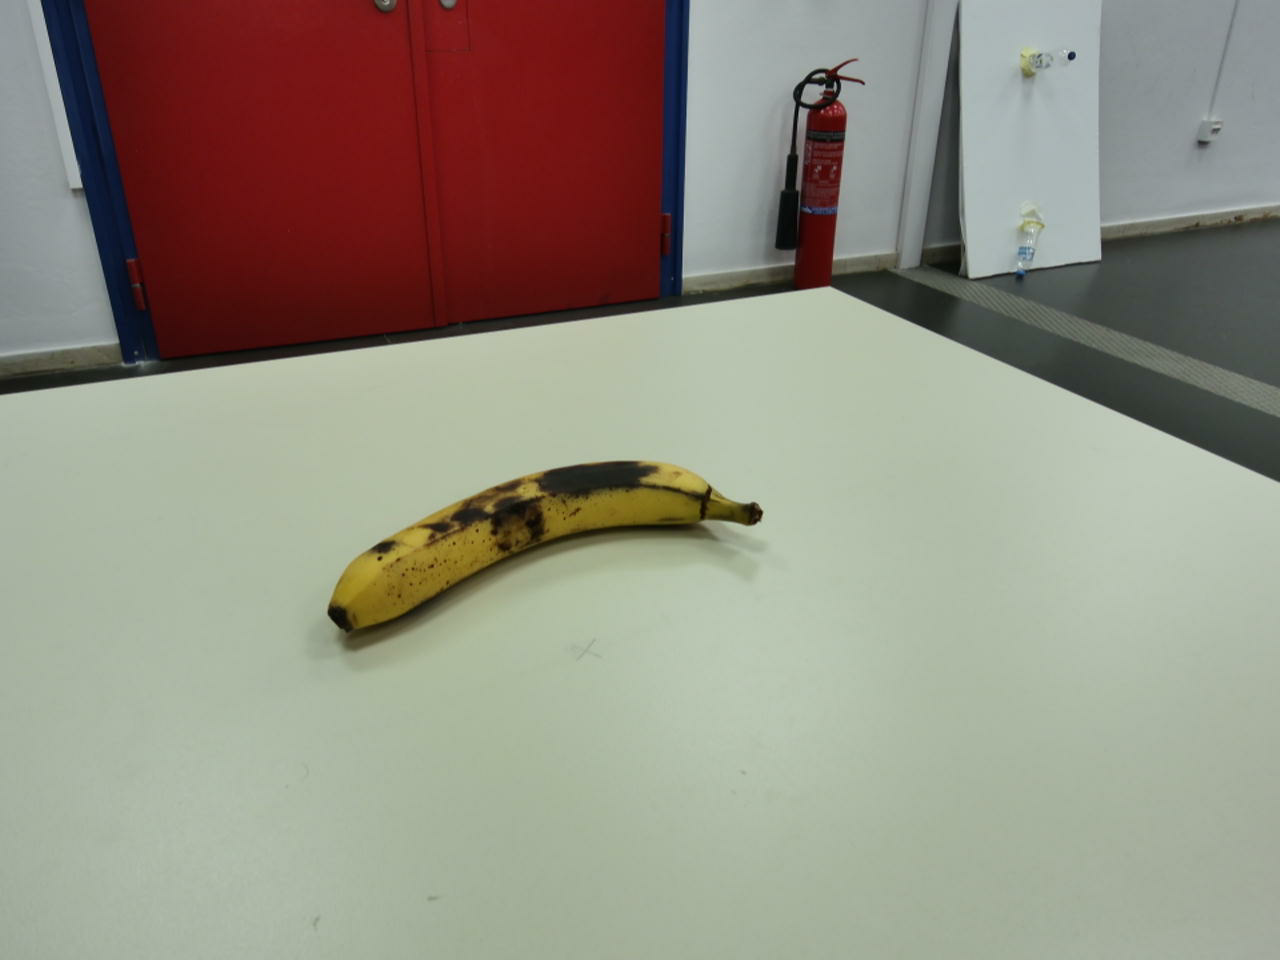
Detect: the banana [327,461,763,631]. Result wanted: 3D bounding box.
[{"bbox_3d":[-0.051,0.024,0.510,0.222,0.037,0.084,-11,28,-23],"label":"banana"}]
